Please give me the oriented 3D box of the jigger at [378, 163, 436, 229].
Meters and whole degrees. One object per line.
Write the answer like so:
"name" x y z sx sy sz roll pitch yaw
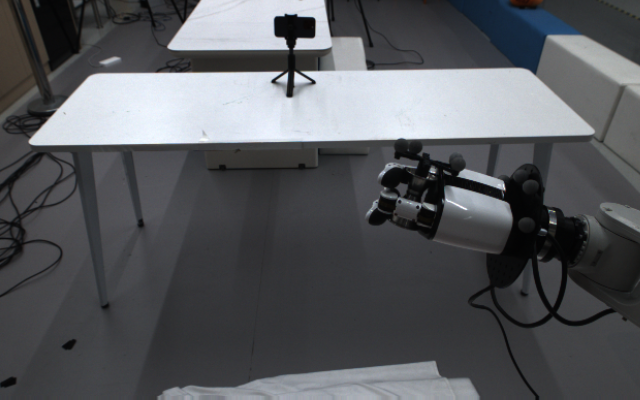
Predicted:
"jigger" 0.118 -0.002 0.611 0.043 0.071 0.043 15 17 -5
